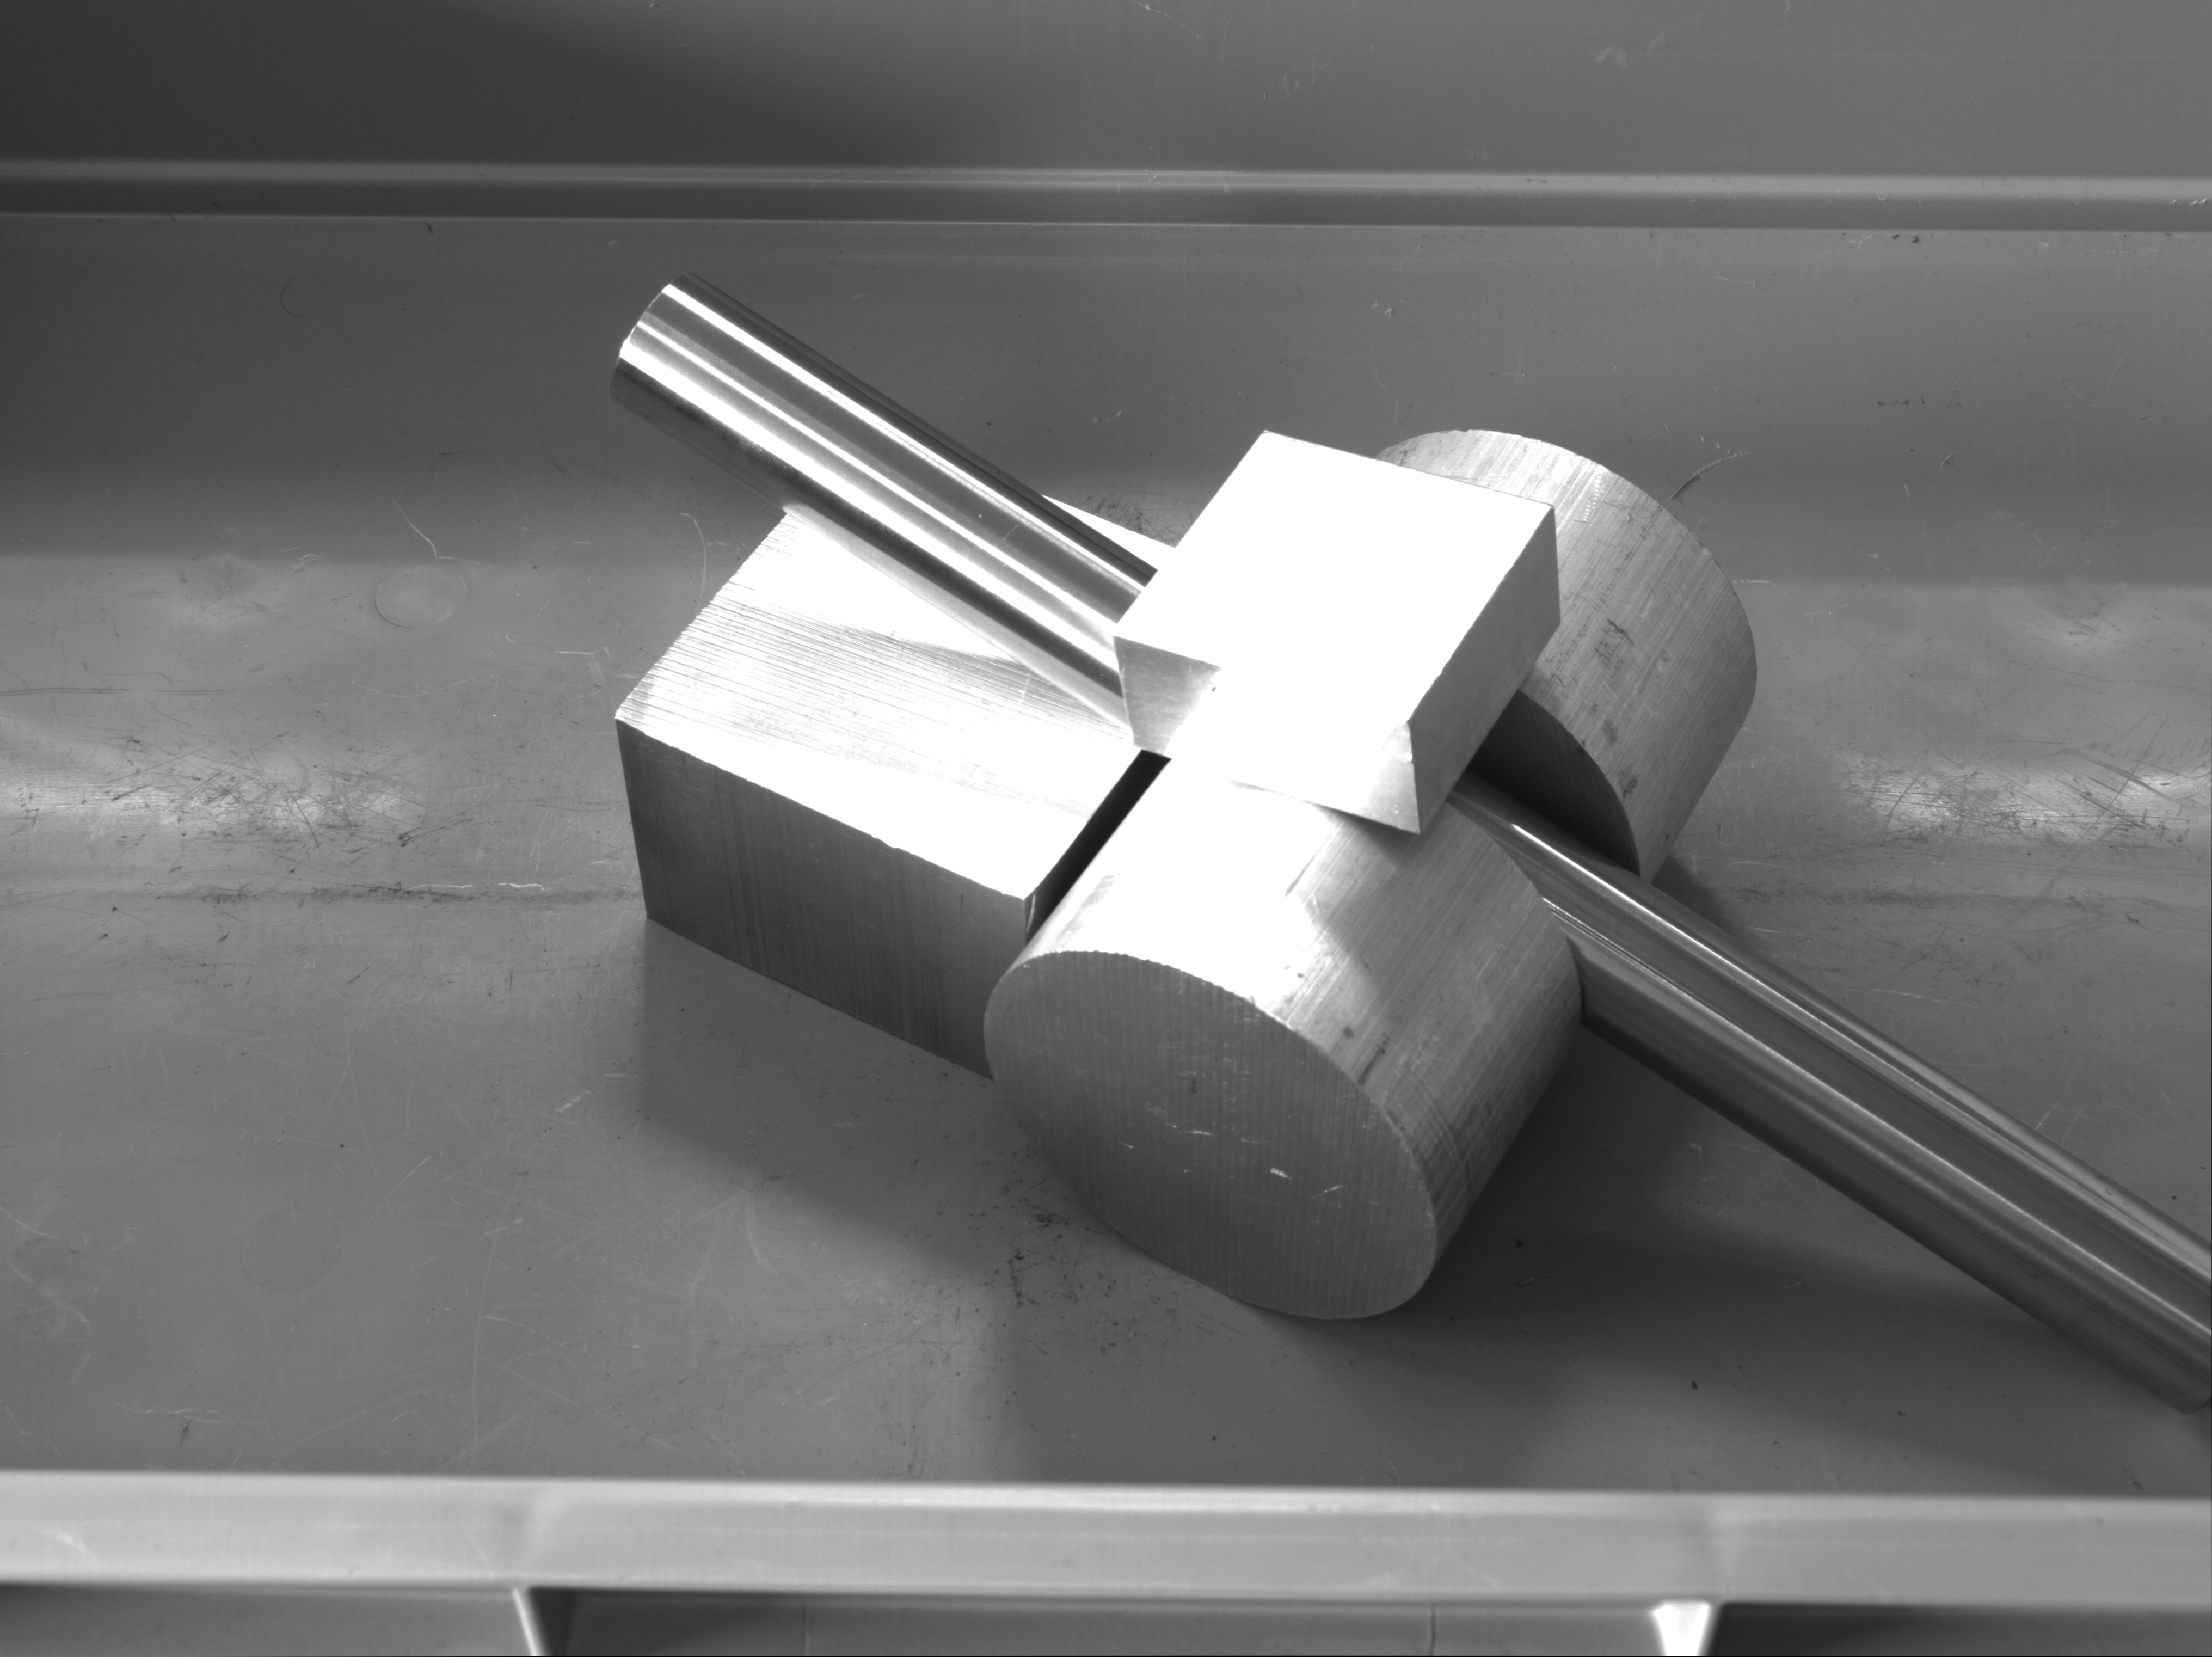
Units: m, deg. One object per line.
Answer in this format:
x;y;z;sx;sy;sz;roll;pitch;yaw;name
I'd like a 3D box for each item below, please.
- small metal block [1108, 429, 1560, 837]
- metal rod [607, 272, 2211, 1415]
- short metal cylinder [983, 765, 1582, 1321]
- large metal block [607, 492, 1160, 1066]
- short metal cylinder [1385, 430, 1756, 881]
0.036;-0.031;0.564;0.050;0.025;0.050;18;52;25;small metal block
0.050;0.000;0.590;0.300;0.025;0.025;33;56;6;metal rod
0.028;0.032;0.578;0.080;0.080;0.050;24;54;19;short metal cylinder
-0.027;-0.014;0.634;0.080;0.050;0.080;23;54;19;large metal block
0.063;-0.020;0.623;0.080;0.080;0.050;22;53;18;short metal cylinder
